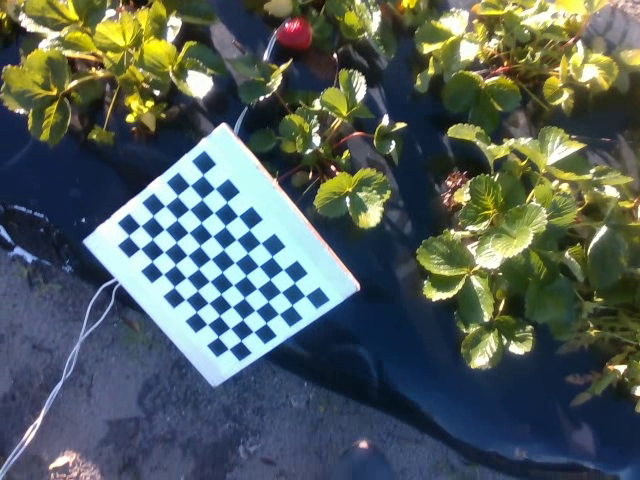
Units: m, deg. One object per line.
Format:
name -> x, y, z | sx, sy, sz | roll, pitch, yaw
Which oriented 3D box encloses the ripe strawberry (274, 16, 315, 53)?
ripe strawberry -> -0.035, -0.336, 0.851 | 0.080, 0.063, 0.040 | -20, 17, -29
